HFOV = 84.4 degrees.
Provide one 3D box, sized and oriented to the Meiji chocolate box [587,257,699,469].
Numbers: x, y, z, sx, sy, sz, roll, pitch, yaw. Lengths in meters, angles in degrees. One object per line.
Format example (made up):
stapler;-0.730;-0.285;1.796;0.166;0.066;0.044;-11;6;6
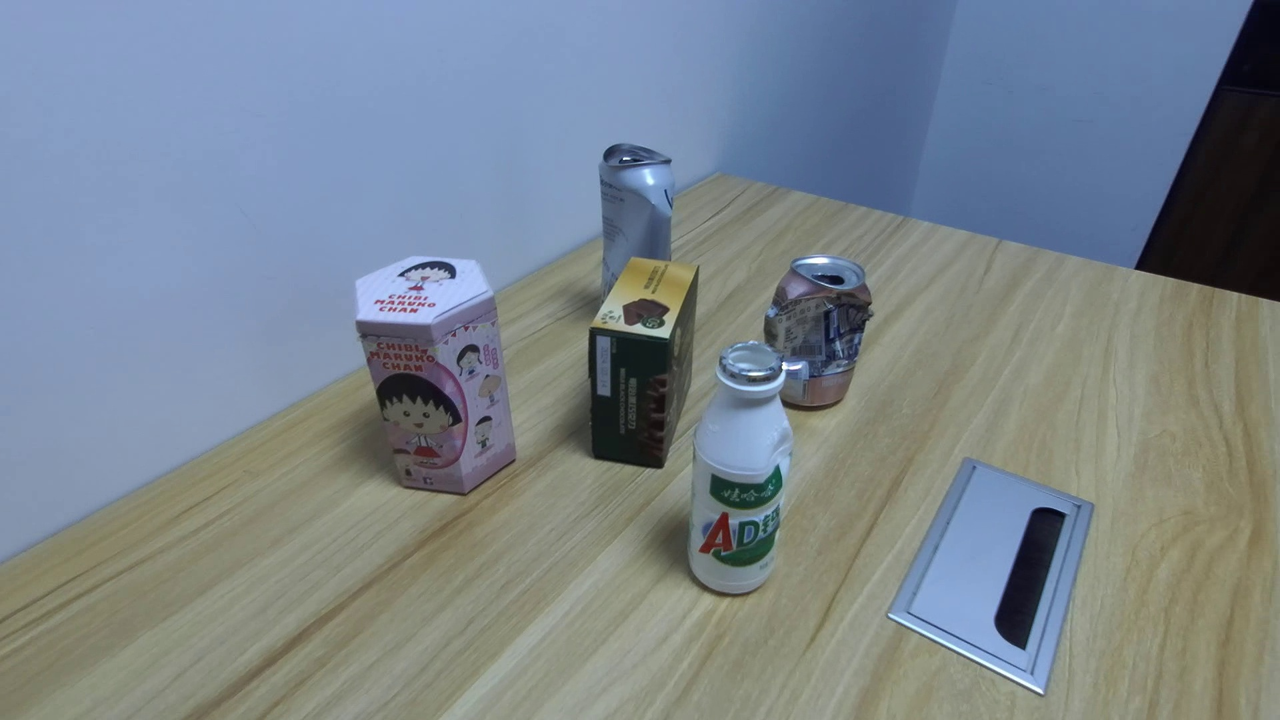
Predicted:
Meiji chocolate box;0.005;0.000;0.504;0.056;0.109;0.110;8;35;11

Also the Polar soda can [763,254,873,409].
Polar soda can;0.134;-0.021;0.535;0.070;0.114;0.074;20;41;18

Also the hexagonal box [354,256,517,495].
hexagonal box;-0.132;0.012;0.466;0.091;0.136;0.084;5;34;7

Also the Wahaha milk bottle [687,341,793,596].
Wahaha milk bottle;0.055;0.066;0.384;0.053;0.137;0.053;1;32;0

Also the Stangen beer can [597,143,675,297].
Stangen beer can;-0.003;-0.095;0.593;0.077;0.162;0.066;12;37;17
